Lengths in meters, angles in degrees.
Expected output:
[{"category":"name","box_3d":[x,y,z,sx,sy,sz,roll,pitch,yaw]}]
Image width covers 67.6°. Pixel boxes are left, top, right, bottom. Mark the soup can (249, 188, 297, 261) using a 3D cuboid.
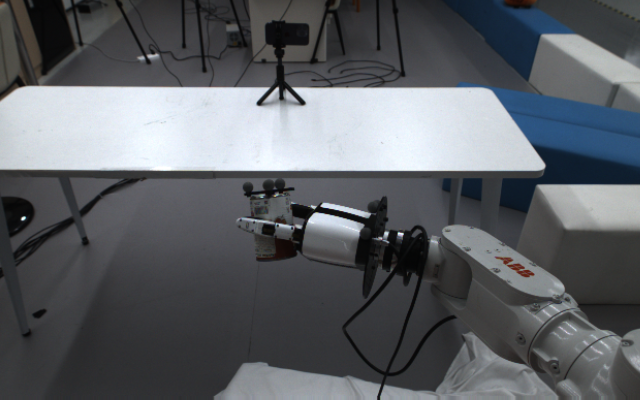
[{"category":"soup can","box_3d":[-0.074,0.043,0.771,0.067,0.101,0.067,-7,3,0]}]
